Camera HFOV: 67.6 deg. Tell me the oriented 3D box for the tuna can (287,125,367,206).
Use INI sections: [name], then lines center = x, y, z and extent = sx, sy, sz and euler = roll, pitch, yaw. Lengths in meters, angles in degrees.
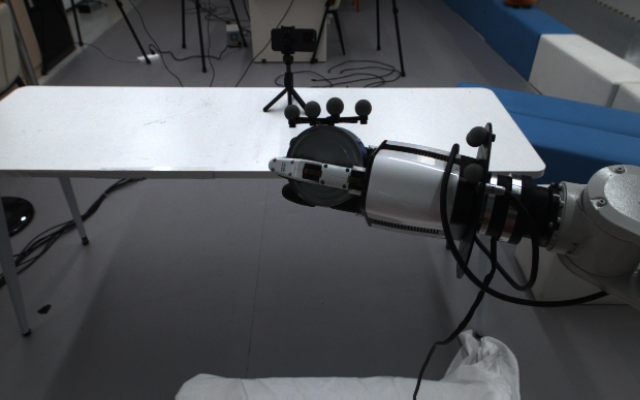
[tuna can]
center = 0.010, -0.038, 0.522
extent = 0.085, 0.085, 0.034
euler = 15, 10, 18
